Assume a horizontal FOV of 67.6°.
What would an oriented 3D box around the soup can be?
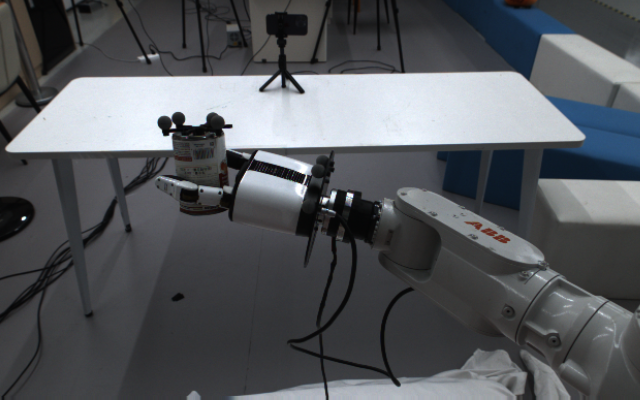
[{"bbox_3d":[-0.153,-0.037,0.630,0.067,0.101,0.067,-2,17,0],"label":"soup can"}]
